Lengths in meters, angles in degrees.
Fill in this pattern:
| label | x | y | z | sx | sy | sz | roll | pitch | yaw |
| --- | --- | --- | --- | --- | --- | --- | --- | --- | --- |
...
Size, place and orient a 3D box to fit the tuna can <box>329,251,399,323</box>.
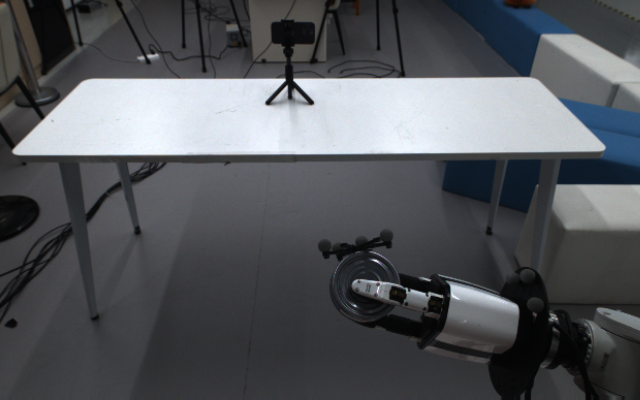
| label | x | y | z | sx | sy | sz | roll | pitch | yaw |
| --- | --- | --- | --- | --- | --- | --- | --- | --- | --- |
| tuna can | 0.059 | 0.104 | 0.596 | 0.085 | 0.034 | 0.085 | 0 | 72 | -1 |
